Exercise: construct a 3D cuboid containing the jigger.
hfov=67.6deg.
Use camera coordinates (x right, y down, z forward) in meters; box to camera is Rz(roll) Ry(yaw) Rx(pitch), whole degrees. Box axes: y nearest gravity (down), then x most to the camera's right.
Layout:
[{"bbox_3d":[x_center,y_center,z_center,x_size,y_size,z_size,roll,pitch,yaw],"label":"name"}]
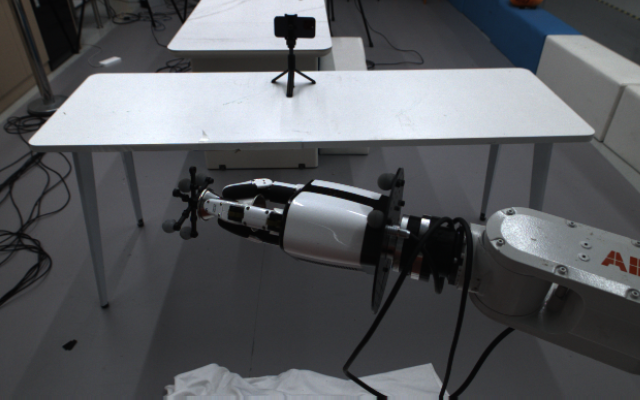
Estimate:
[{"bbox_3d":[-0.097,0.006,0.565,0.071,0.043,0.043,8,35,16],"label":"jigger"}]
